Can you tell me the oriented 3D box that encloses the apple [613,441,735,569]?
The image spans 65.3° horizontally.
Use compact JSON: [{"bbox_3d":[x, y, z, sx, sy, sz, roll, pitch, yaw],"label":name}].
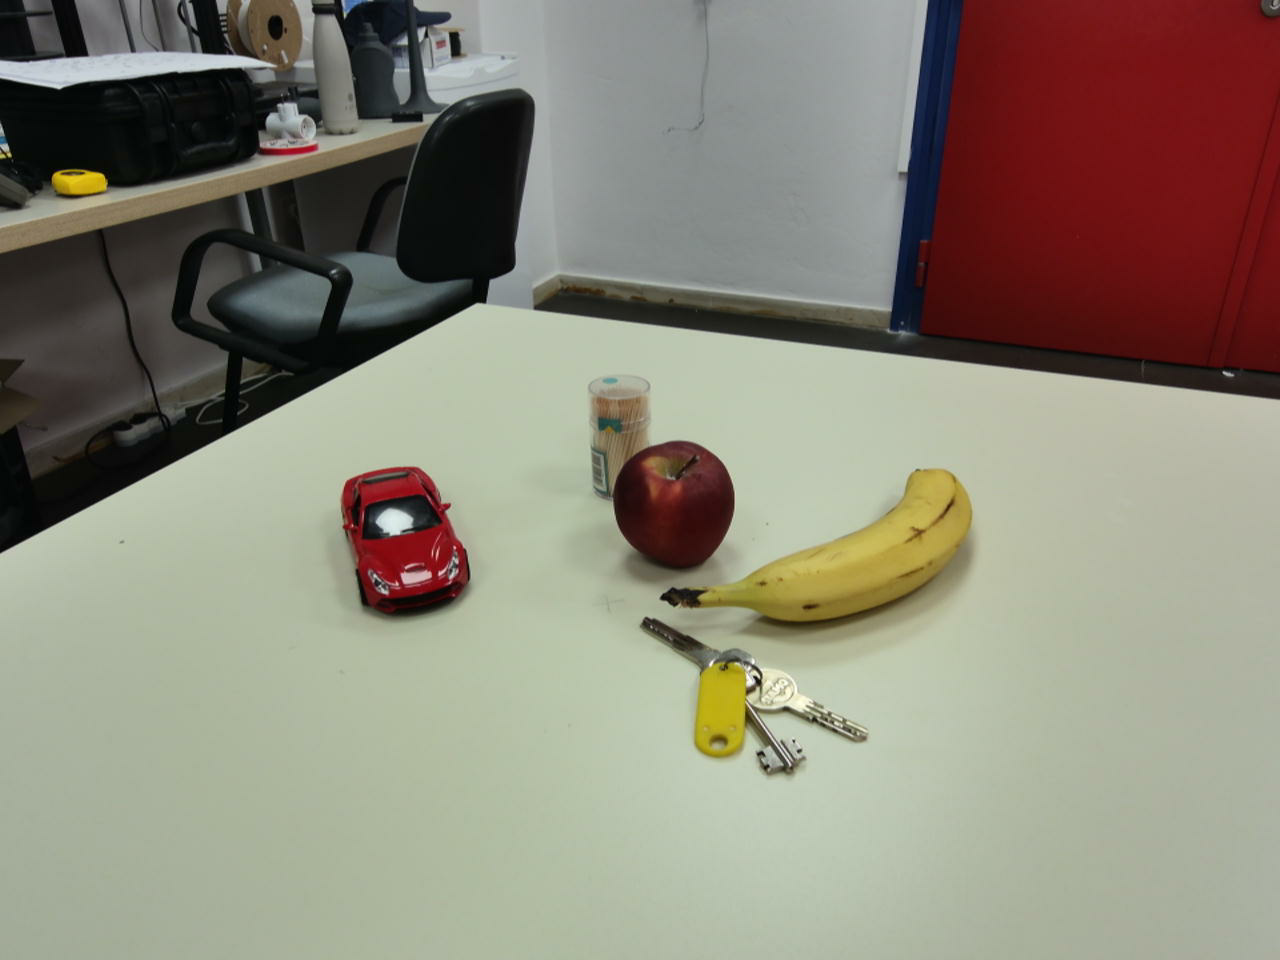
[{"bbox_3d":[0.020,0.014,0.567,0.070,0.072,0.070,1,26,0],"label":"apple"}]
